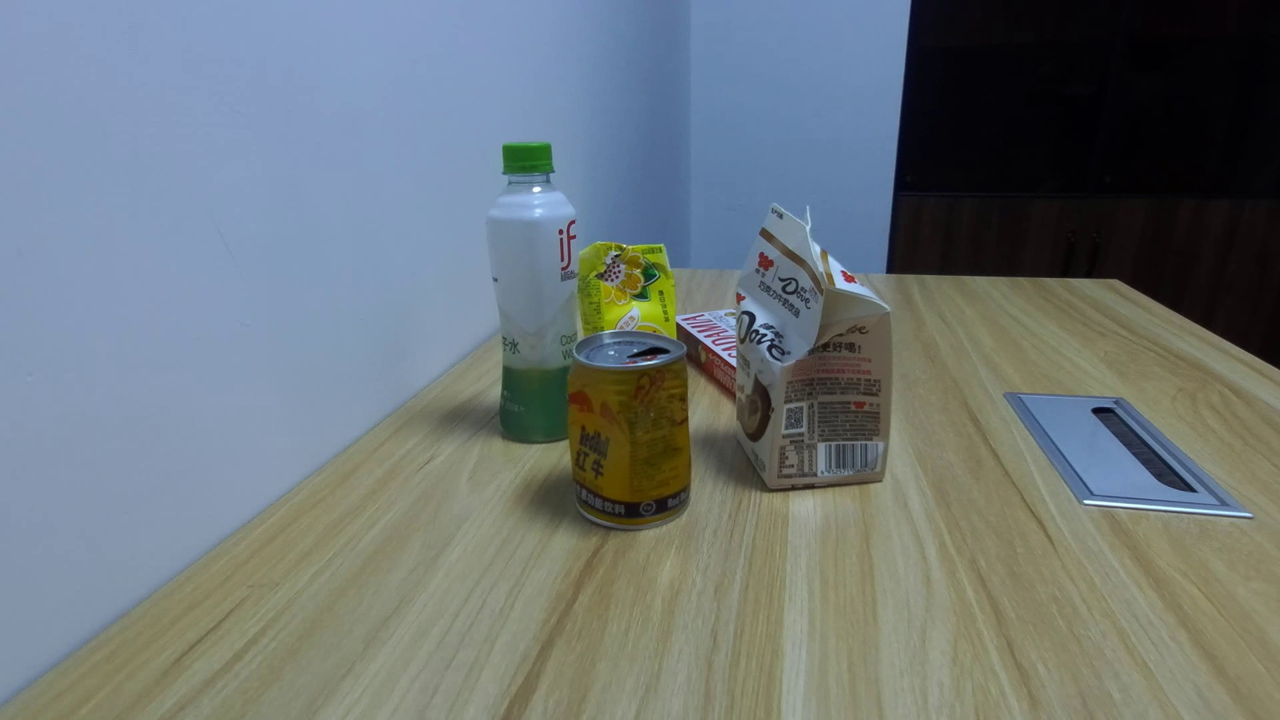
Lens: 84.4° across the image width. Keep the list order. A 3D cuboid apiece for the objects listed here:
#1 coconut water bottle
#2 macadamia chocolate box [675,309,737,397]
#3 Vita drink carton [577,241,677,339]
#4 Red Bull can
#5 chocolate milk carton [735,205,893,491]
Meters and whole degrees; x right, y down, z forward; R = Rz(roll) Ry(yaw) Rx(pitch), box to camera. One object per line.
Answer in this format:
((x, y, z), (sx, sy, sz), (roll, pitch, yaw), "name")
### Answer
((-0.067, -0.043, 0.466), (0.063, 0.188, 0.063), (-1, 18, 1), "coconut water bottle")
((0.067, 0.017, 0.570), (0.096, 0.027, 0.177), (-4, 32, -12), "macadamia chocolate box")
((-0.012, -0.043, 0.584), (0.087, 0.108, 0.042), (-8, 8, -27), "Vita drink carton")
((-0.004, 0.036, 0.384), (0.072, 0.092, 0.072), (-1, 19, 1), "Red Bull can")
((0.099, -0.010, 0.412), (0.074, 0.155, 0.076), (-5, 22, -7), "chocolate milk carton")
